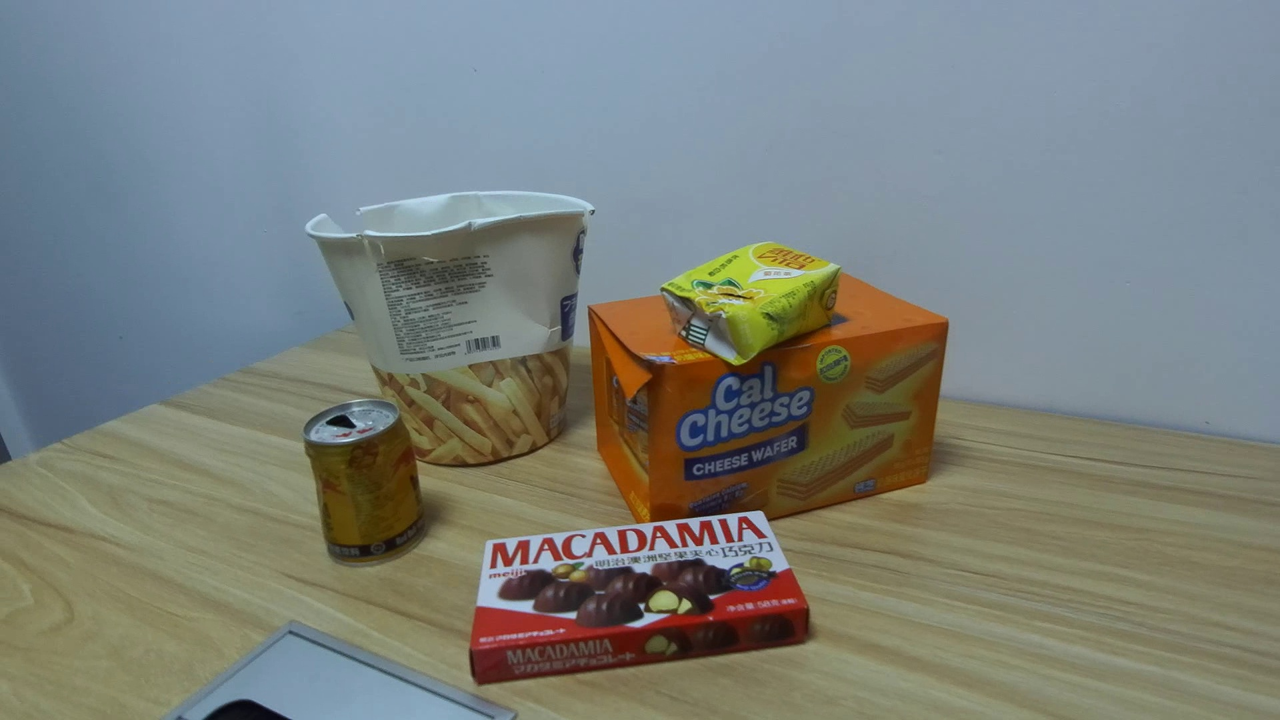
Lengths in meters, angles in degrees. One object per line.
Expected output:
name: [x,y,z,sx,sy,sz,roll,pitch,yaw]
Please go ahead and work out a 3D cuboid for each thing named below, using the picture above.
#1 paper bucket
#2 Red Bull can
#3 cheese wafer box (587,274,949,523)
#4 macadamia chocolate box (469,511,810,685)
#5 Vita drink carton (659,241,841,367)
paper bucket: [-0.147,-0.032,0.598,0.203,0.197,0.145,-14,25,-26]
Red Bull can: [-0.182,0.080,0.470,0.068,0.093,0.068,-3,21,1]
cheese wafer box: [0.086,0.023,0.529,0.228,0.137,0.149,-9,24,-15]
macadamia chocolate box: [-0.003,0.133,0.409,0.178,0.027,0.095,-5,21,-4]
Vita drink carton: [0.072,-0.037,0.458,0.108,0.042,0.086,-23,37,-34]
